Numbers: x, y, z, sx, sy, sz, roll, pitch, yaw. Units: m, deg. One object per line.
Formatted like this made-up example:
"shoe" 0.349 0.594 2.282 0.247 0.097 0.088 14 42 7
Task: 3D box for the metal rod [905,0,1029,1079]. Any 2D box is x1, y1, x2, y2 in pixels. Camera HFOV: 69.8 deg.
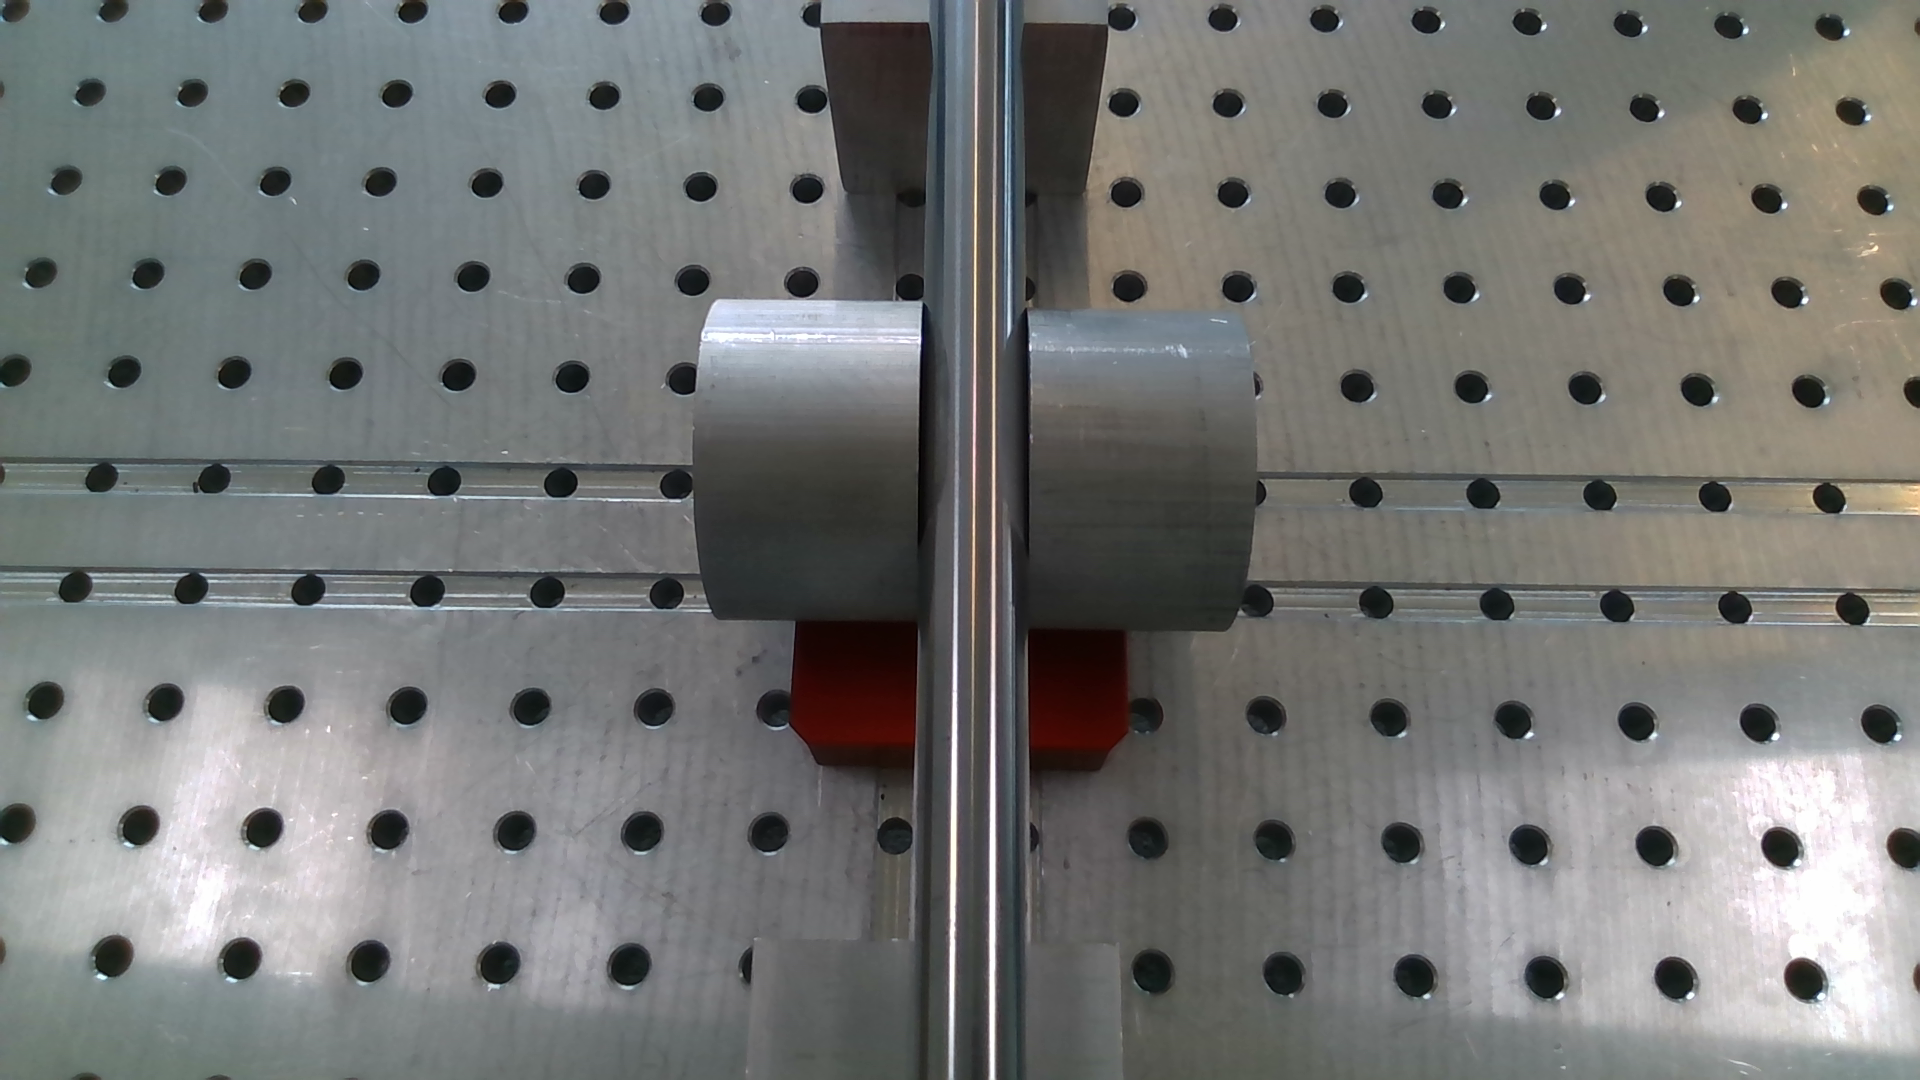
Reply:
"metal rod" 0.003 -0.033 0.324 0.025 0.025 0.299 0 70 0

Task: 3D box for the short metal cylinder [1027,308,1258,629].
"short metal cylinder" 0.041 -0.018 0.343 0.050 0.080 0.080 1 70 0

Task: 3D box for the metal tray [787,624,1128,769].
"metal tray" 0.001 -0.002 0.396 0.090 0.030 0.130 1 70 0

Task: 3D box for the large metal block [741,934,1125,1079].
"large metal block" -0.006 0.122 0.324 0.080 0.080 0.050 1 70 0

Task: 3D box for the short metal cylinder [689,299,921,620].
"short metal cylinder" -0.035 -0.020 0.344 0.050 0.080 0.080 1 70 0

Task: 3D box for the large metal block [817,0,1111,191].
"large metal block" 0.001 -0.152 0.422 0.080 0.080 0.050 1 70 0
